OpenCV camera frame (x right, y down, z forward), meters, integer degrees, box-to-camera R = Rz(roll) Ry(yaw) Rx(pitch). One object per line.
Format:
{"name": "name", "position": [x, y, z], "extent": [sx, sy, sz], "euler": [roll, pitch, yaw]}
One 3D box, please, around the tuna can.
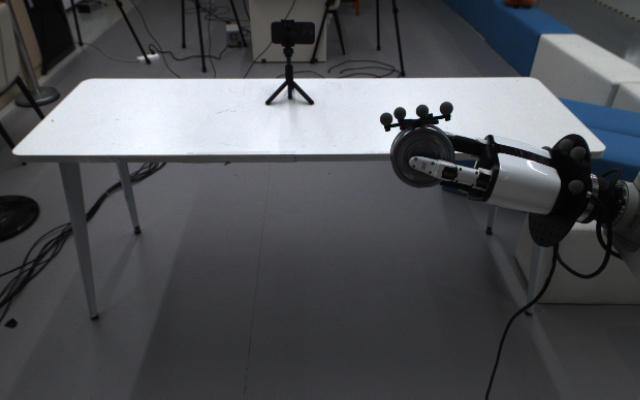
{"name": "tuna can", "position": [0.141, -0.063, 0.666], "extent": [0.085, 0.085, 0.034], "euler": [6, 18, 5]}
